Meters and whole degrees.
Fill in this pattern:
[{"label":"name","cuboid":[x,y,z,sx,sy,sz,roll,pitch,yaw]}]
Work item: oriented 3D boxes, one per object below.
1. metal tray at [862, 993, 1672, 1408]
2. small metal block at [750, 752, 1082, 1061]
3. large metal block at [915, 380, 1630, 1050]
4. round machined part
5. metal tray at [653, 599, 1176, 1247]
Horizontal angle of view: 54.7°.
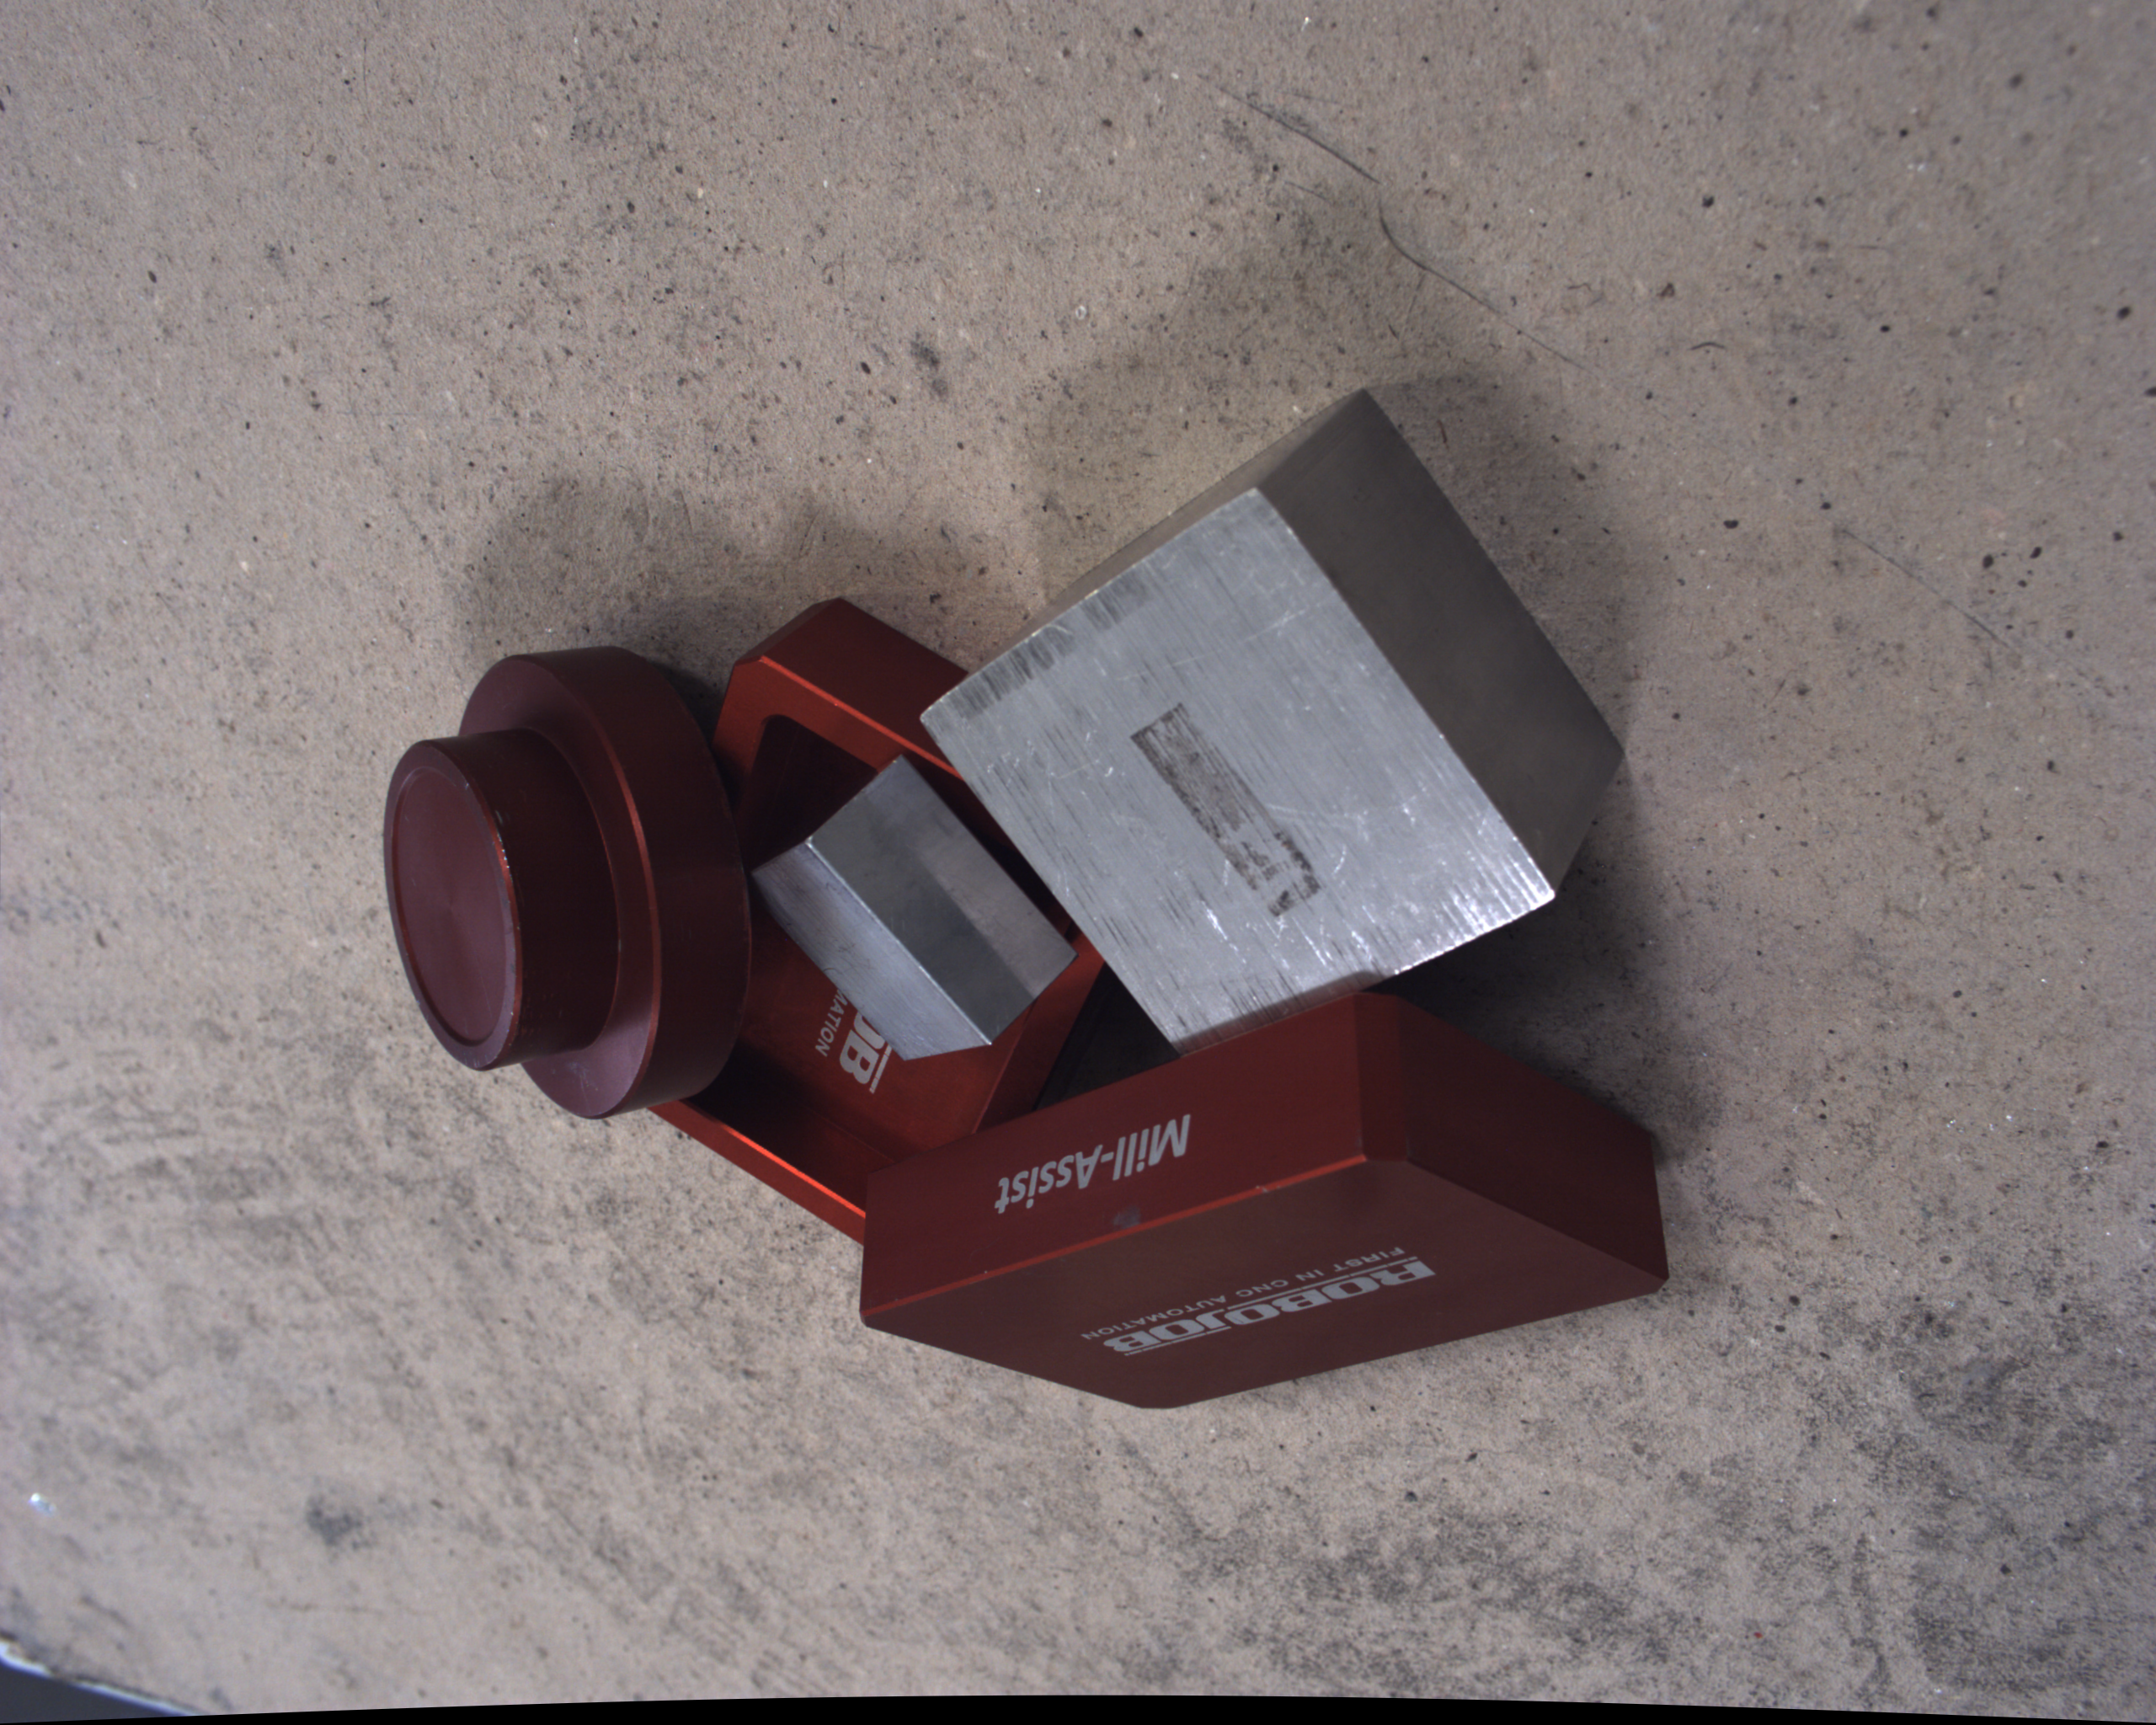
[{"label":"metal tray","cuboid":[0.033,0.070,0.401,0.130,0.030,0.090,-25,141,37]},{"label":"small metal block","cuboid":[-0.034,0.010,0.403,0.050,0.025,0.050,48,157,-9]},{"label":"large metal block","cuboid":[0.034,-0.022,0.361,0.080,0.050,0.080,-30,102,38]},{"label":"round machined part","cuboid":[-0.111,0.006,0.432,0.098,0.042,0.097,17,112,49]},{"label":"metal tray","cuboid":[-0.041,0.021,0.439,0.090,0.030,0.129,30,128,8]}]
